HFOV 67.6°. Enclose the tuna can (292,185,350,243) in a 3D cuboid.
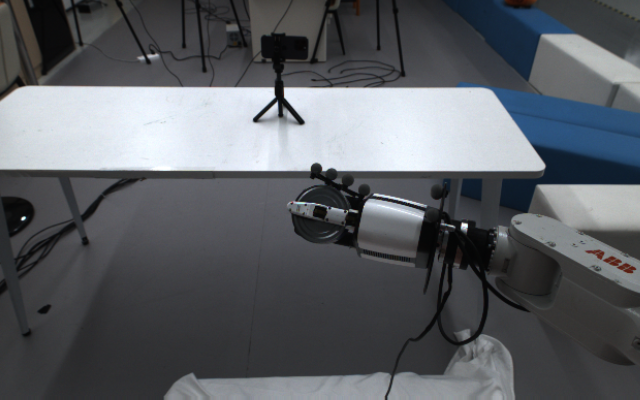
[{"bbox_3d":[0.005,0.021,0.708,0.085,0.085,0.034,13,-6,16],"label":"tuna can"}]
